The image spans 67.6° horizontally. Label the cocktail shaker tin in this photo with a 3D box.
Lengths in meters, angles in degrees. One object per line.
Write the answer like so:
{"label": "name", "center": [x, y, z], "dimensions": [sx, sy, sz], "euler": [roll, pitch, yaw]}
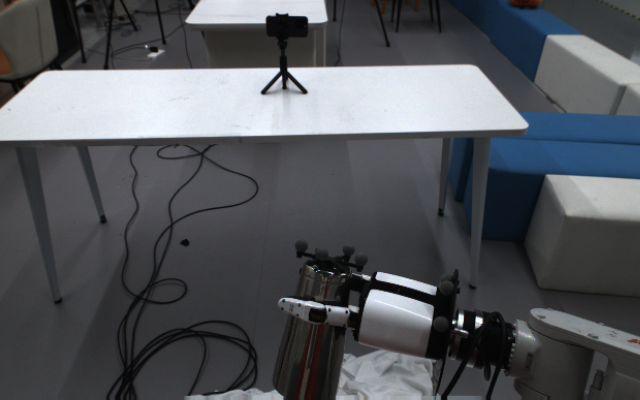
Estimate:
{"label": "cocktail shaker tin", "center": [-0.001, 0.166, 0.646], "dimensions": [0.093, 0.170, 0.093], "euler": [10, 9, -2]}
